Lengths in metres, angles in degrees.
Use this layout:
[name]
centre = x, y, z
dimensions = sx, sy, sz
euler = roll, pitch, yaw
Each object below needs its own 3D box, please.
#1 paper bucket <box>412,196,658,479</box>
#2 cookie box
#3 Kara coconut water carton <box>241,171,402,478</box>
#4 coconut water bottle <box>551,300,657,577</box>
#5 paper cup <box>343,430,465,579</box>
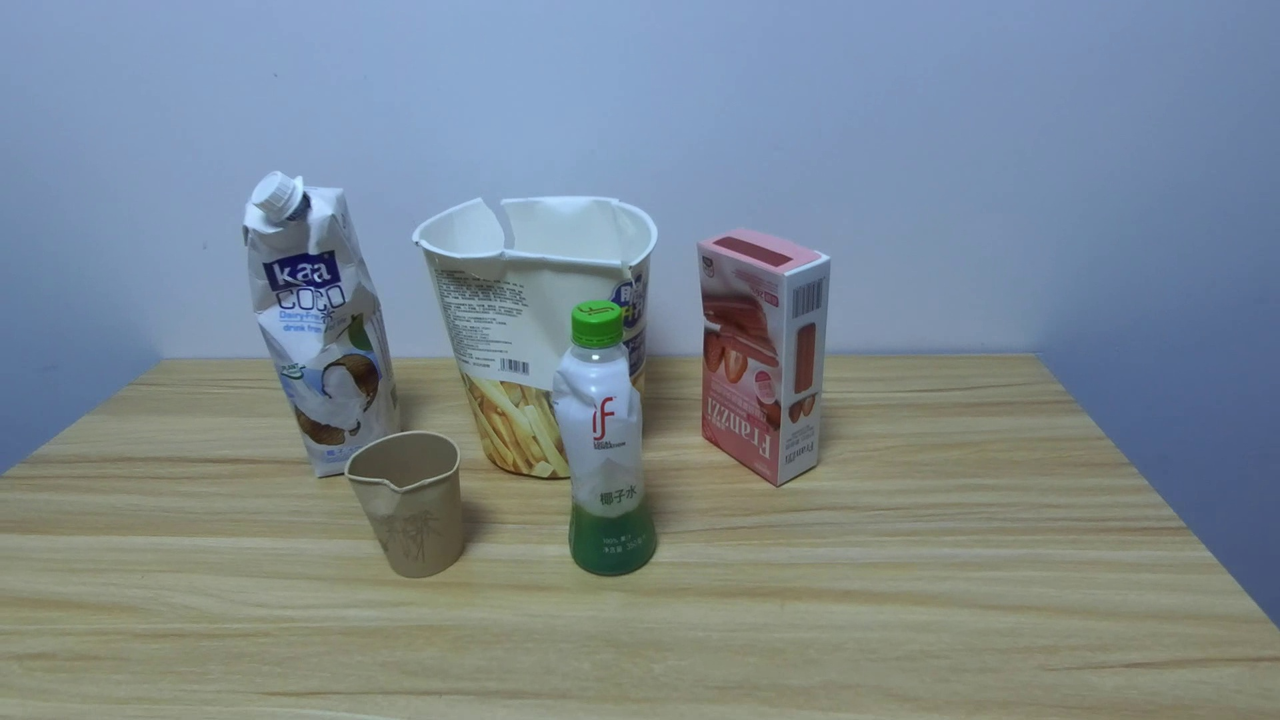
[paper bucket]
centre = -0.078, -0.024, 0.604
dimensions = 0.202, 0.197, 0.146
euler = 5, 29, 14
[cookie box]
centre = 0.092, -0.004, 0.563
dimensions = 0.049, 0.188, 0.104
euler = -21, 33, -29
[Kara coconut water carton]
centre = -0.255, -0.028, 0.567
dimensions = 0.083, 0.256, 0.078
euler = -1, 32, 0
[coconut water bottle]
centre = -0.022, 0.054, 0.468
dimensions = 0.069, 0.186, 0.069
euler = -2, 29, 1
[paper cup]
centre = -0.159, 0.104, 0.501
dimensions = 0.074, 0.081, 0.068
euler = -21, 32, -27
